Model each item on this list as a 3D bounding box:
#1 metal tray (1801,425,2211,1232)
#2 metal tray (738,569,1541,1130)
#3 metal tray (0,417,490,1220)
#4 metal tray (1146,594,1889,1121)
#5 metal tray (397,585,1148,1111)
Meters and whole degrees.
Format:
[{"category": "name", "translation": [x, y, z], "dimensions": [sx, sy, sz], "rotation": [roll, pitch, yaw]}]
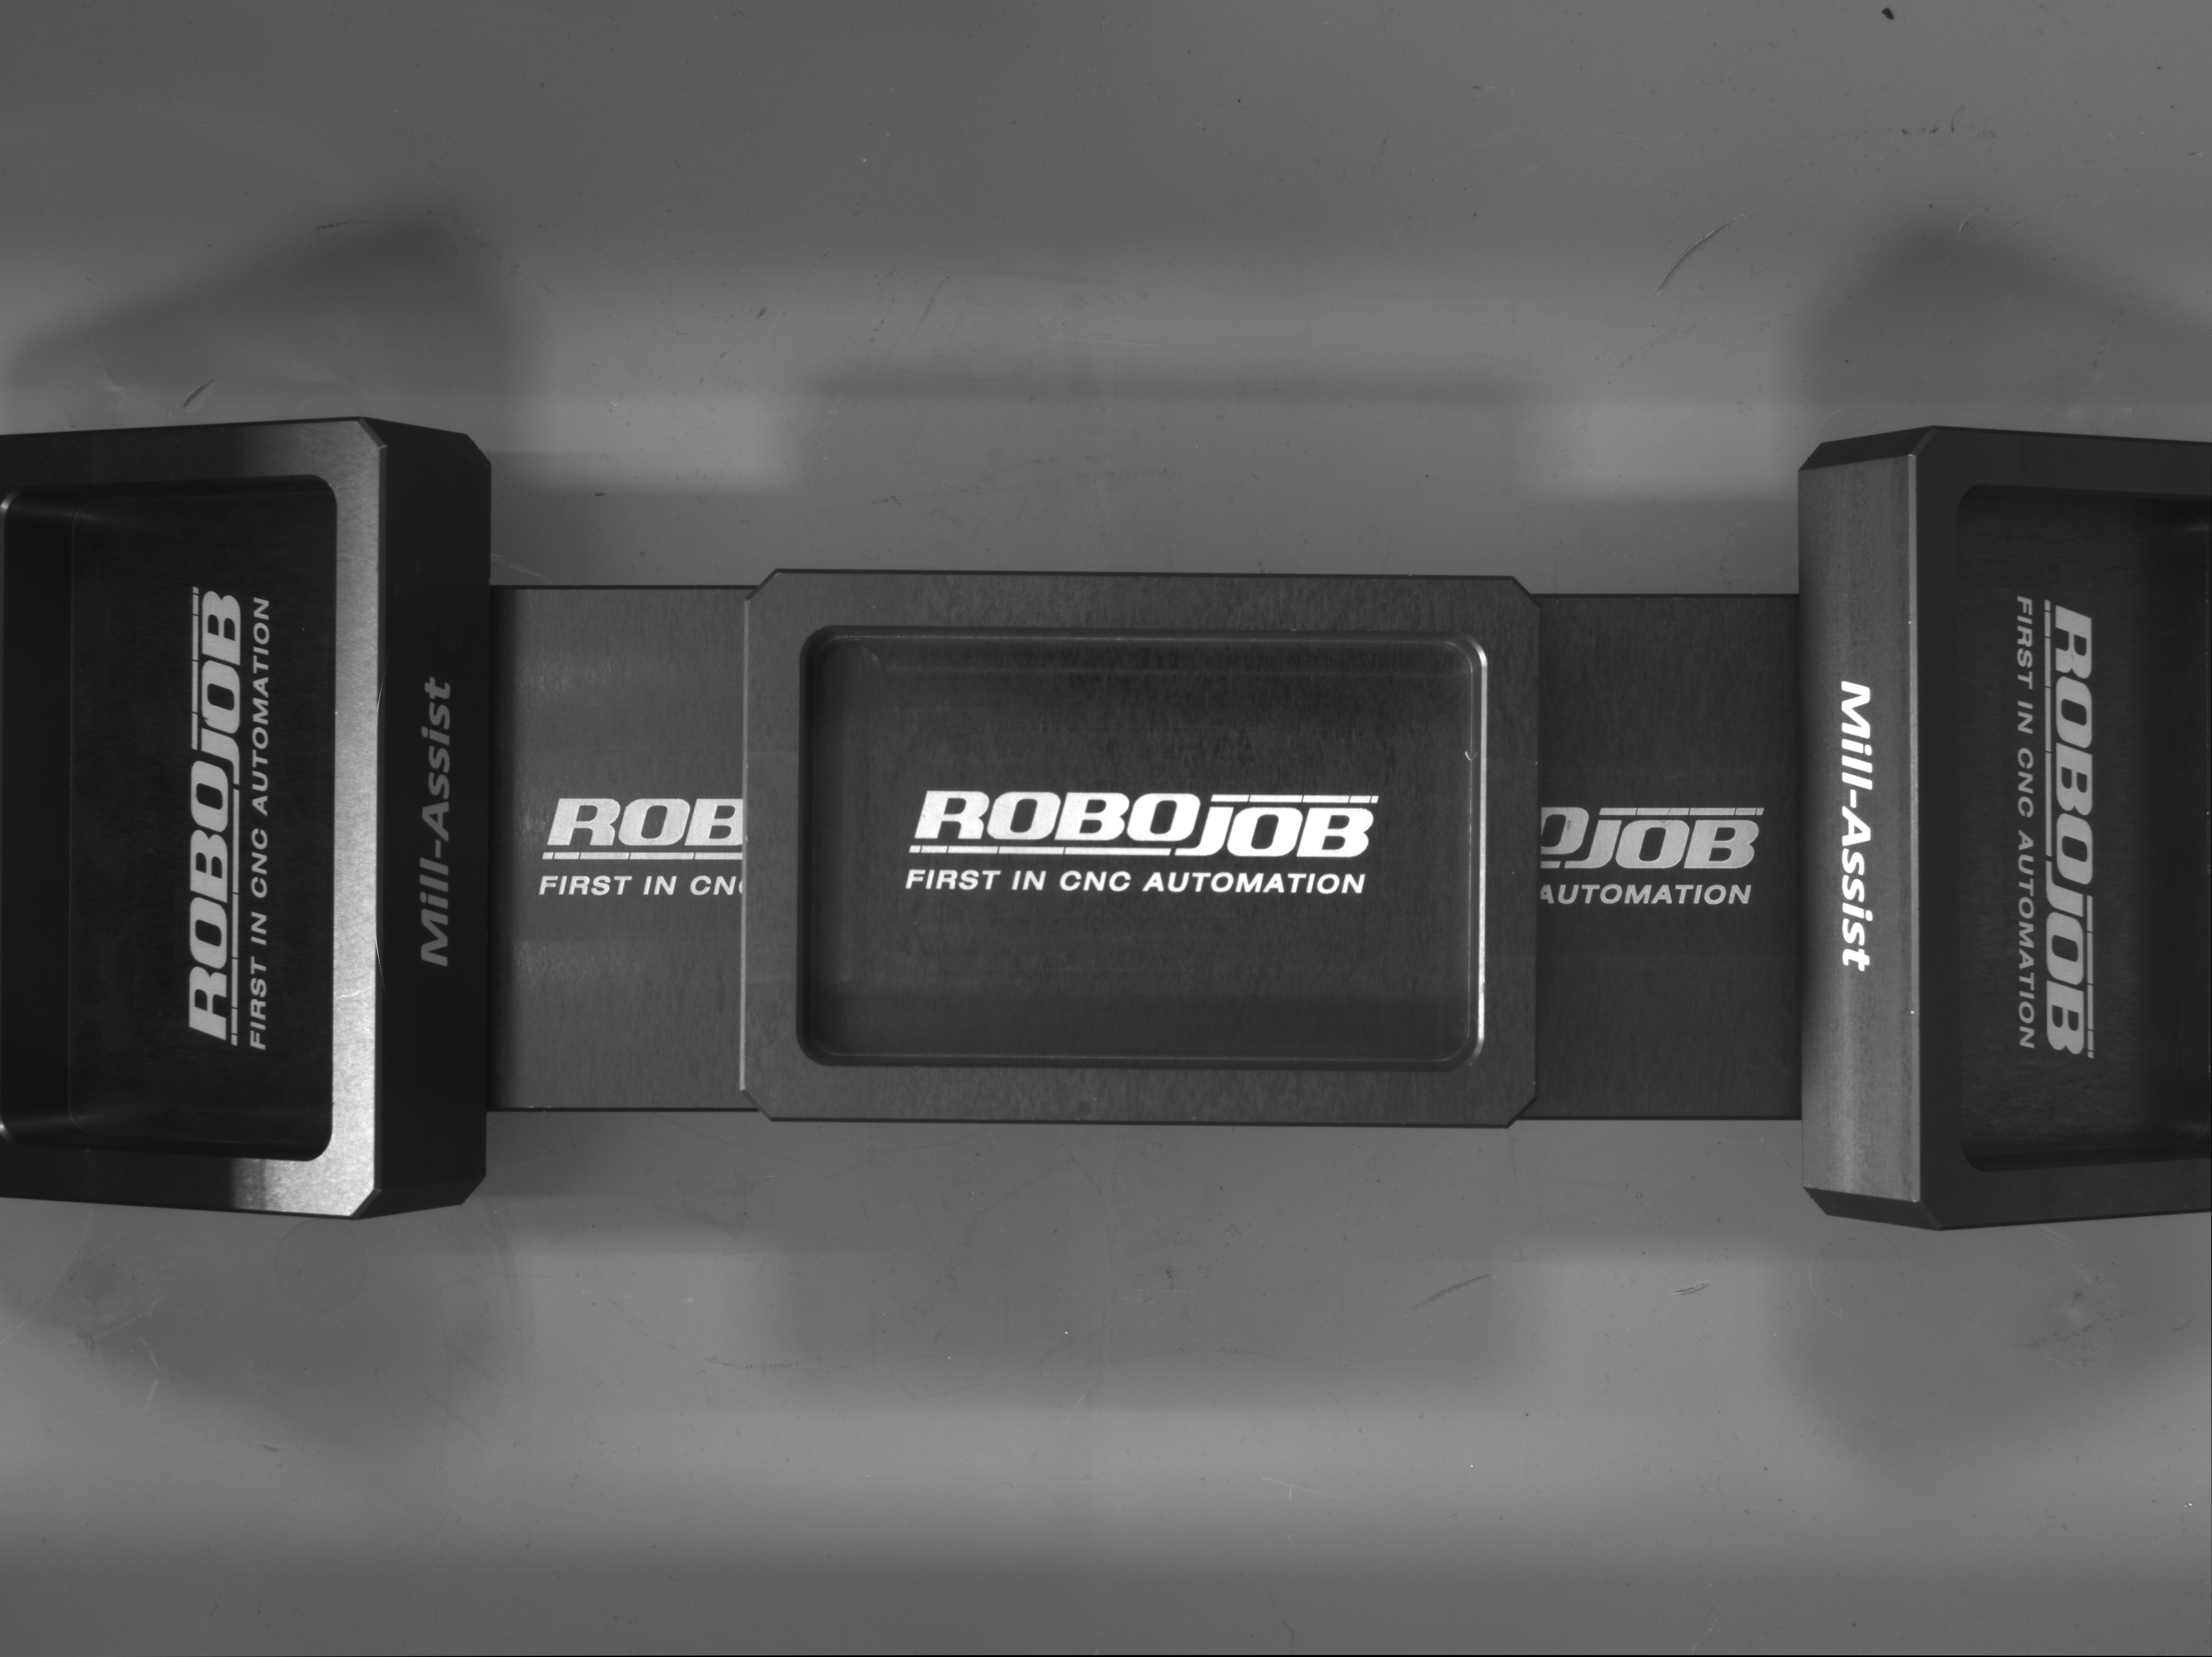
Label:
[{"category": "metal tray", "translation": [0.163, 0.000, 0.623], "dimensions": [0.090, 0.030, 0.130], "rotation": [0, 90, -28]}, {"category": "metal tray", "translation": [0.006, 0.004, 0.611], "dimensions": [0.130, 0.030, 0.090], "rotation": [1, 89, 0]}, {"category": "metal tray", "translation": [-0.151, -0.002, 0.623], "dimensions": [0.090, 0.030, 0.130], "rotation": [1, 90, 26]}, {"category": "metal tray", "translation": [0.072, 0.005, 0.642], "dimensions": [0.130, 0.030, 0.090], "rotation": [0, 90, 0]}, {"category": "metal tray", "translation": [-0.058, 0.004, 0.642], "dimensions": [0.130, 0.030, 0.090], "rotation": [0, 90, 0]}]
